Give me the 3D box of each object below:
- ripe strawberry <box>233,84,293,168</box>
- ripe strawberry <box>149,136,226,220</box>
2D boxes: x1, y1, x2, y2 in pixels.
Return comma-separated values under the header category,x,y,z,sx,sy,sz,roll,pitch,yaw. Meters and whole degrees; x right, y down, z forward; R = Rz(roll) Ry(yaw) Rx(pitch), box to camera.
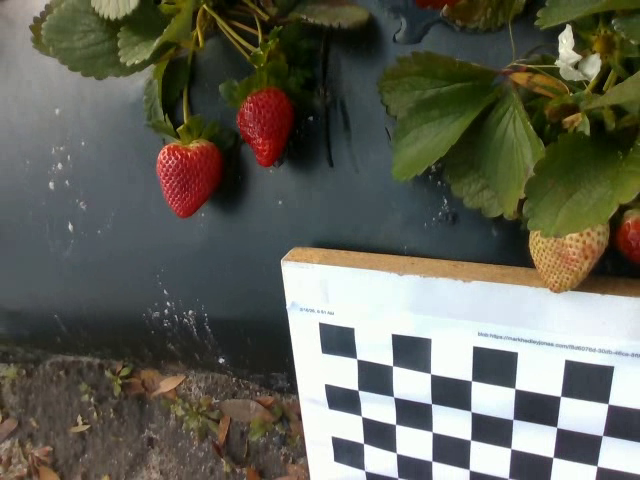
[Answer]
category,x,y,z,sx,sy,sz,roll,pitch,yaw
ripe strawberry,-0.037,-0.069,0.356,0.042,0.053,0.034,-10,-13,32
ripe strawberry,-0.089,-0.041,0.386,0.050,0.061,0.045,-4,-14,30
